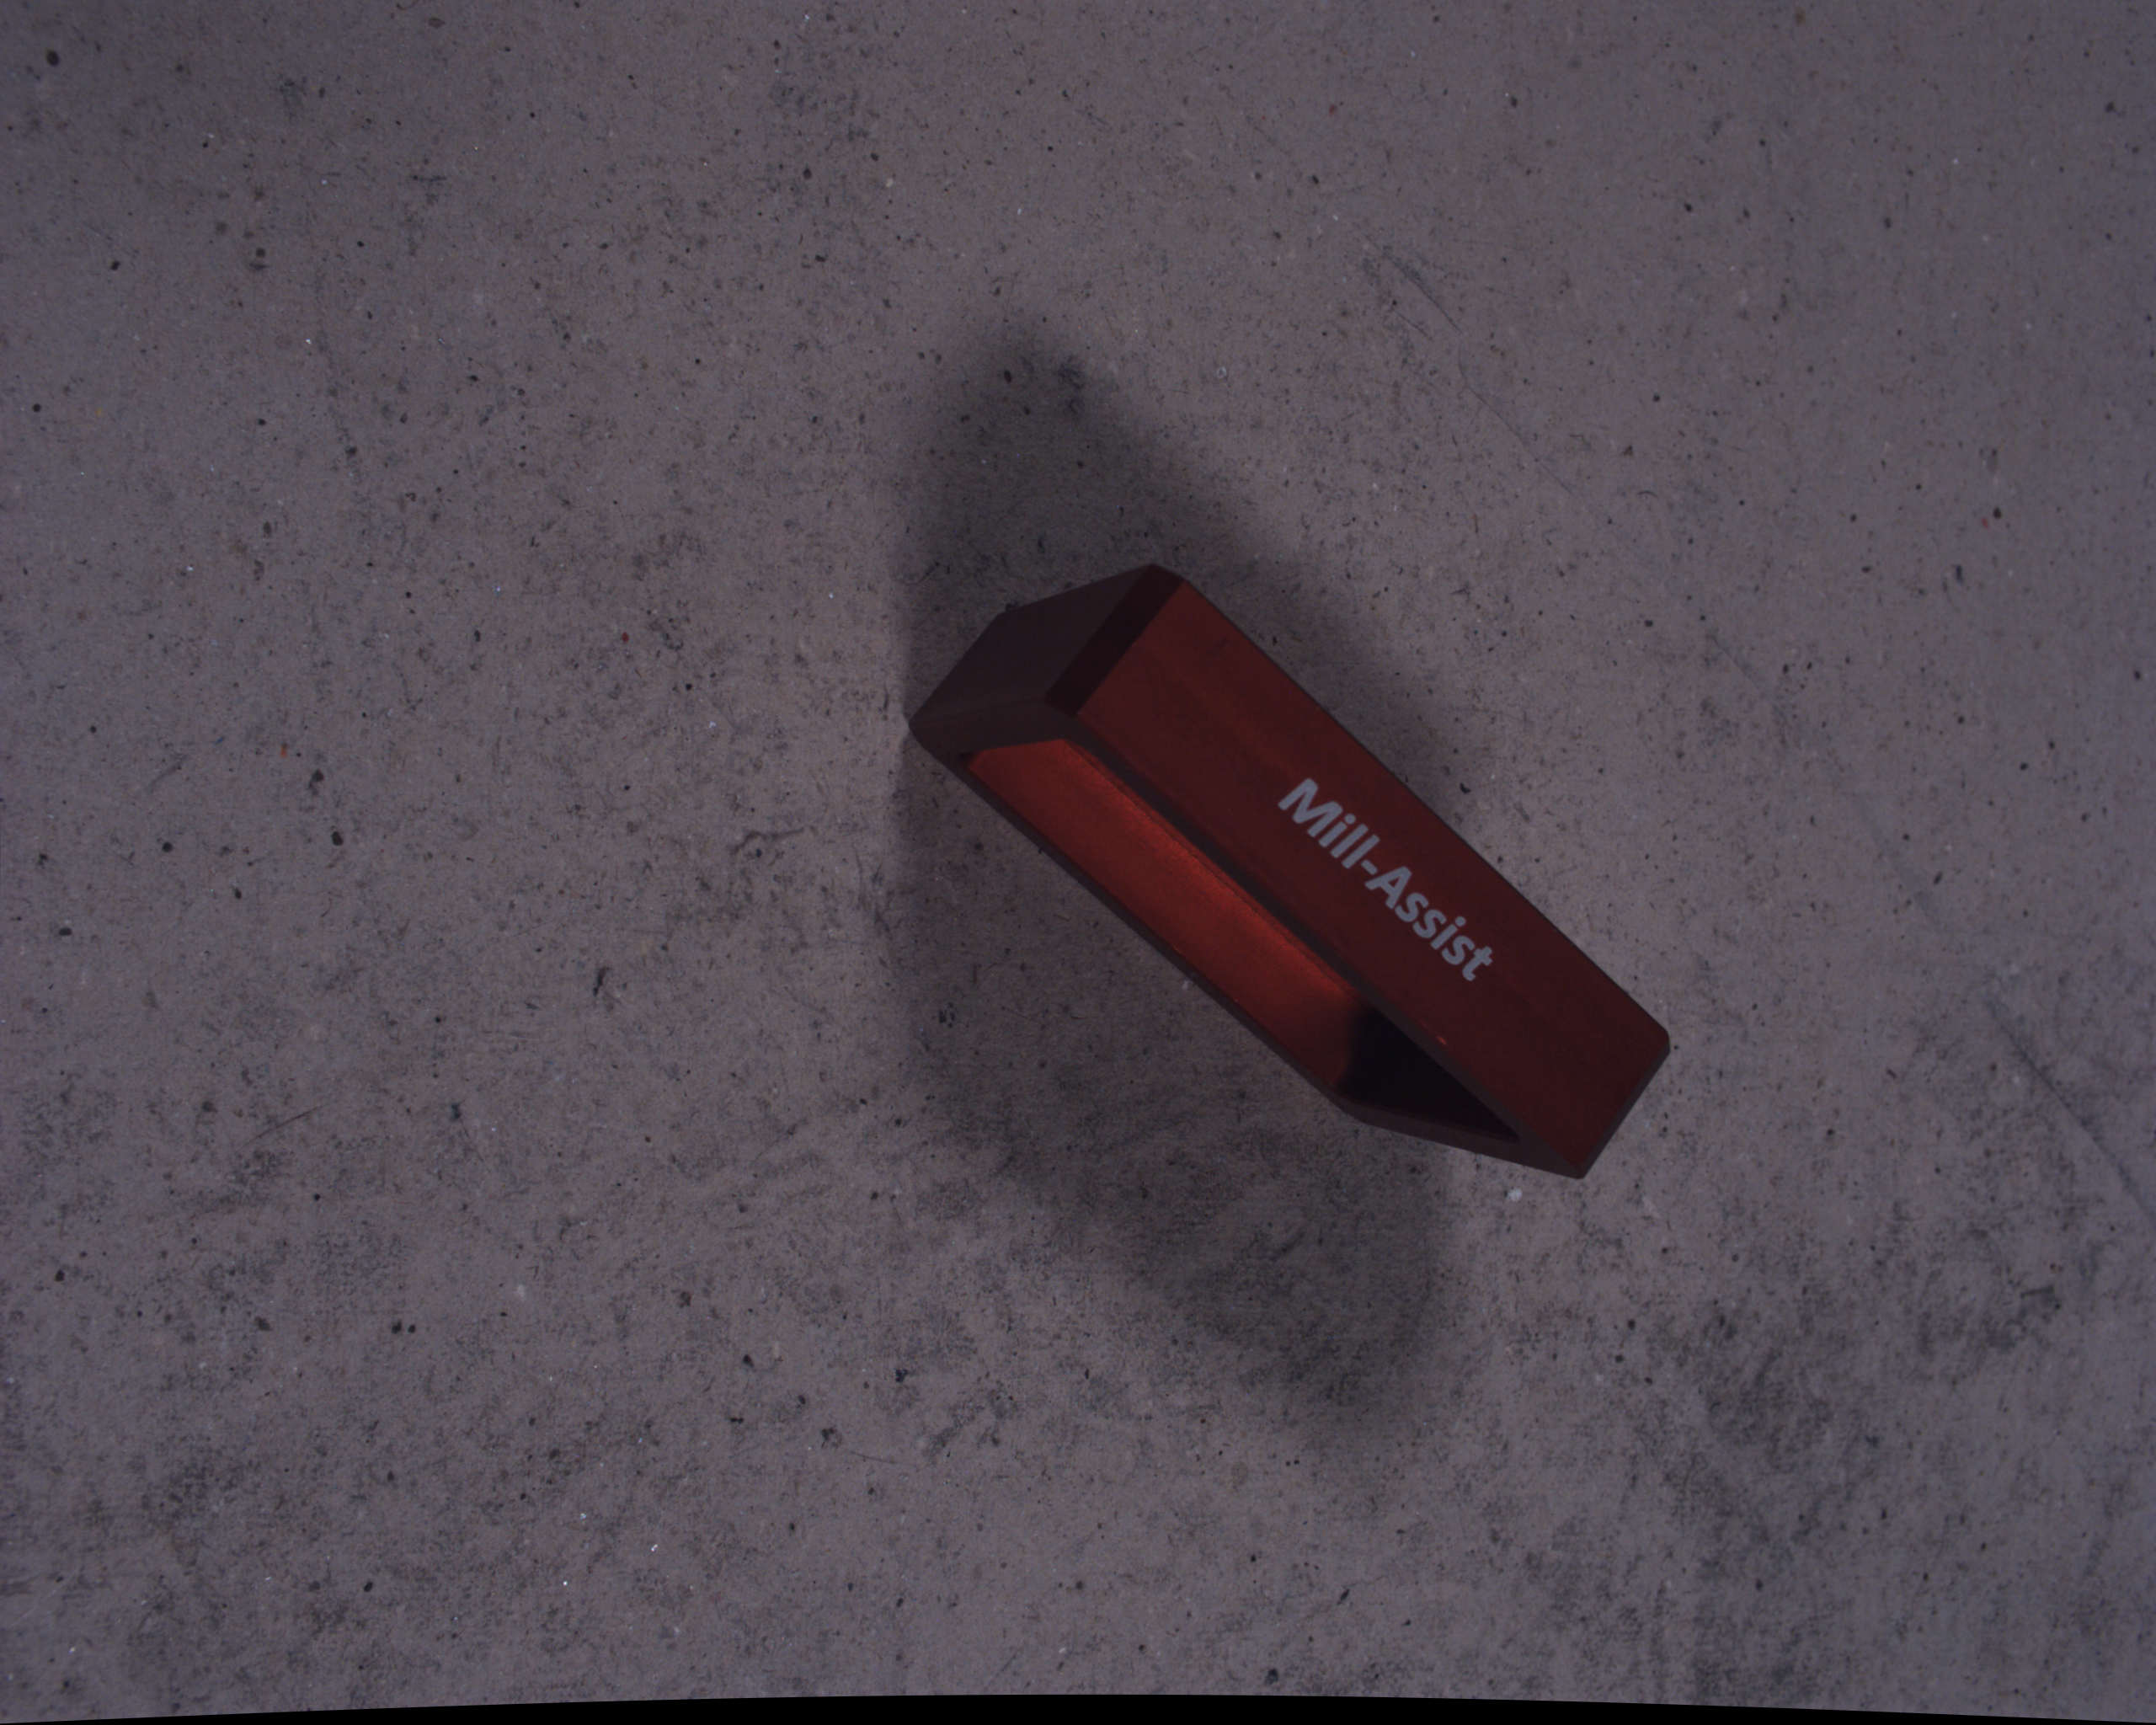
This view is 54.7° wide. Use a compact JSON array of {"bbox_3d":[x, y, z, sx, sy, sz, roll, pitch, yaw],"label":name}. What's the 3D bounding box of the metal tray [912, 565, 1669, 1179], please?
[{"bbox_3d":[0.036,0.003,0.390,0.130,0.090,0.030,41,77,-16],"label":"metal tray"}]
